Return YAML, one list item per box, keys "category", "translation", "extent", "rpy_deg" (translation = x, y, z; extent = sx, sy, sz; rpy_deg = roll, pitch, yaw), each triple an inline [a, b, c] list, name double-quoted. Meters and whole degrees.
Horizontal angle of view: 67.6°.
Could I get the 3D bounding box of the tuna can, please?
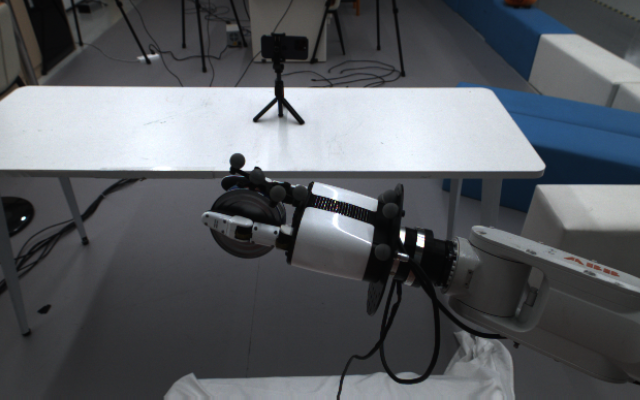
- category: "tuna can"
  translation: [-0.081, 0.022, 0.567]
  extent: [0.085, 0.085, 0.034]
  rpy_deg: [7, 17, 7]
